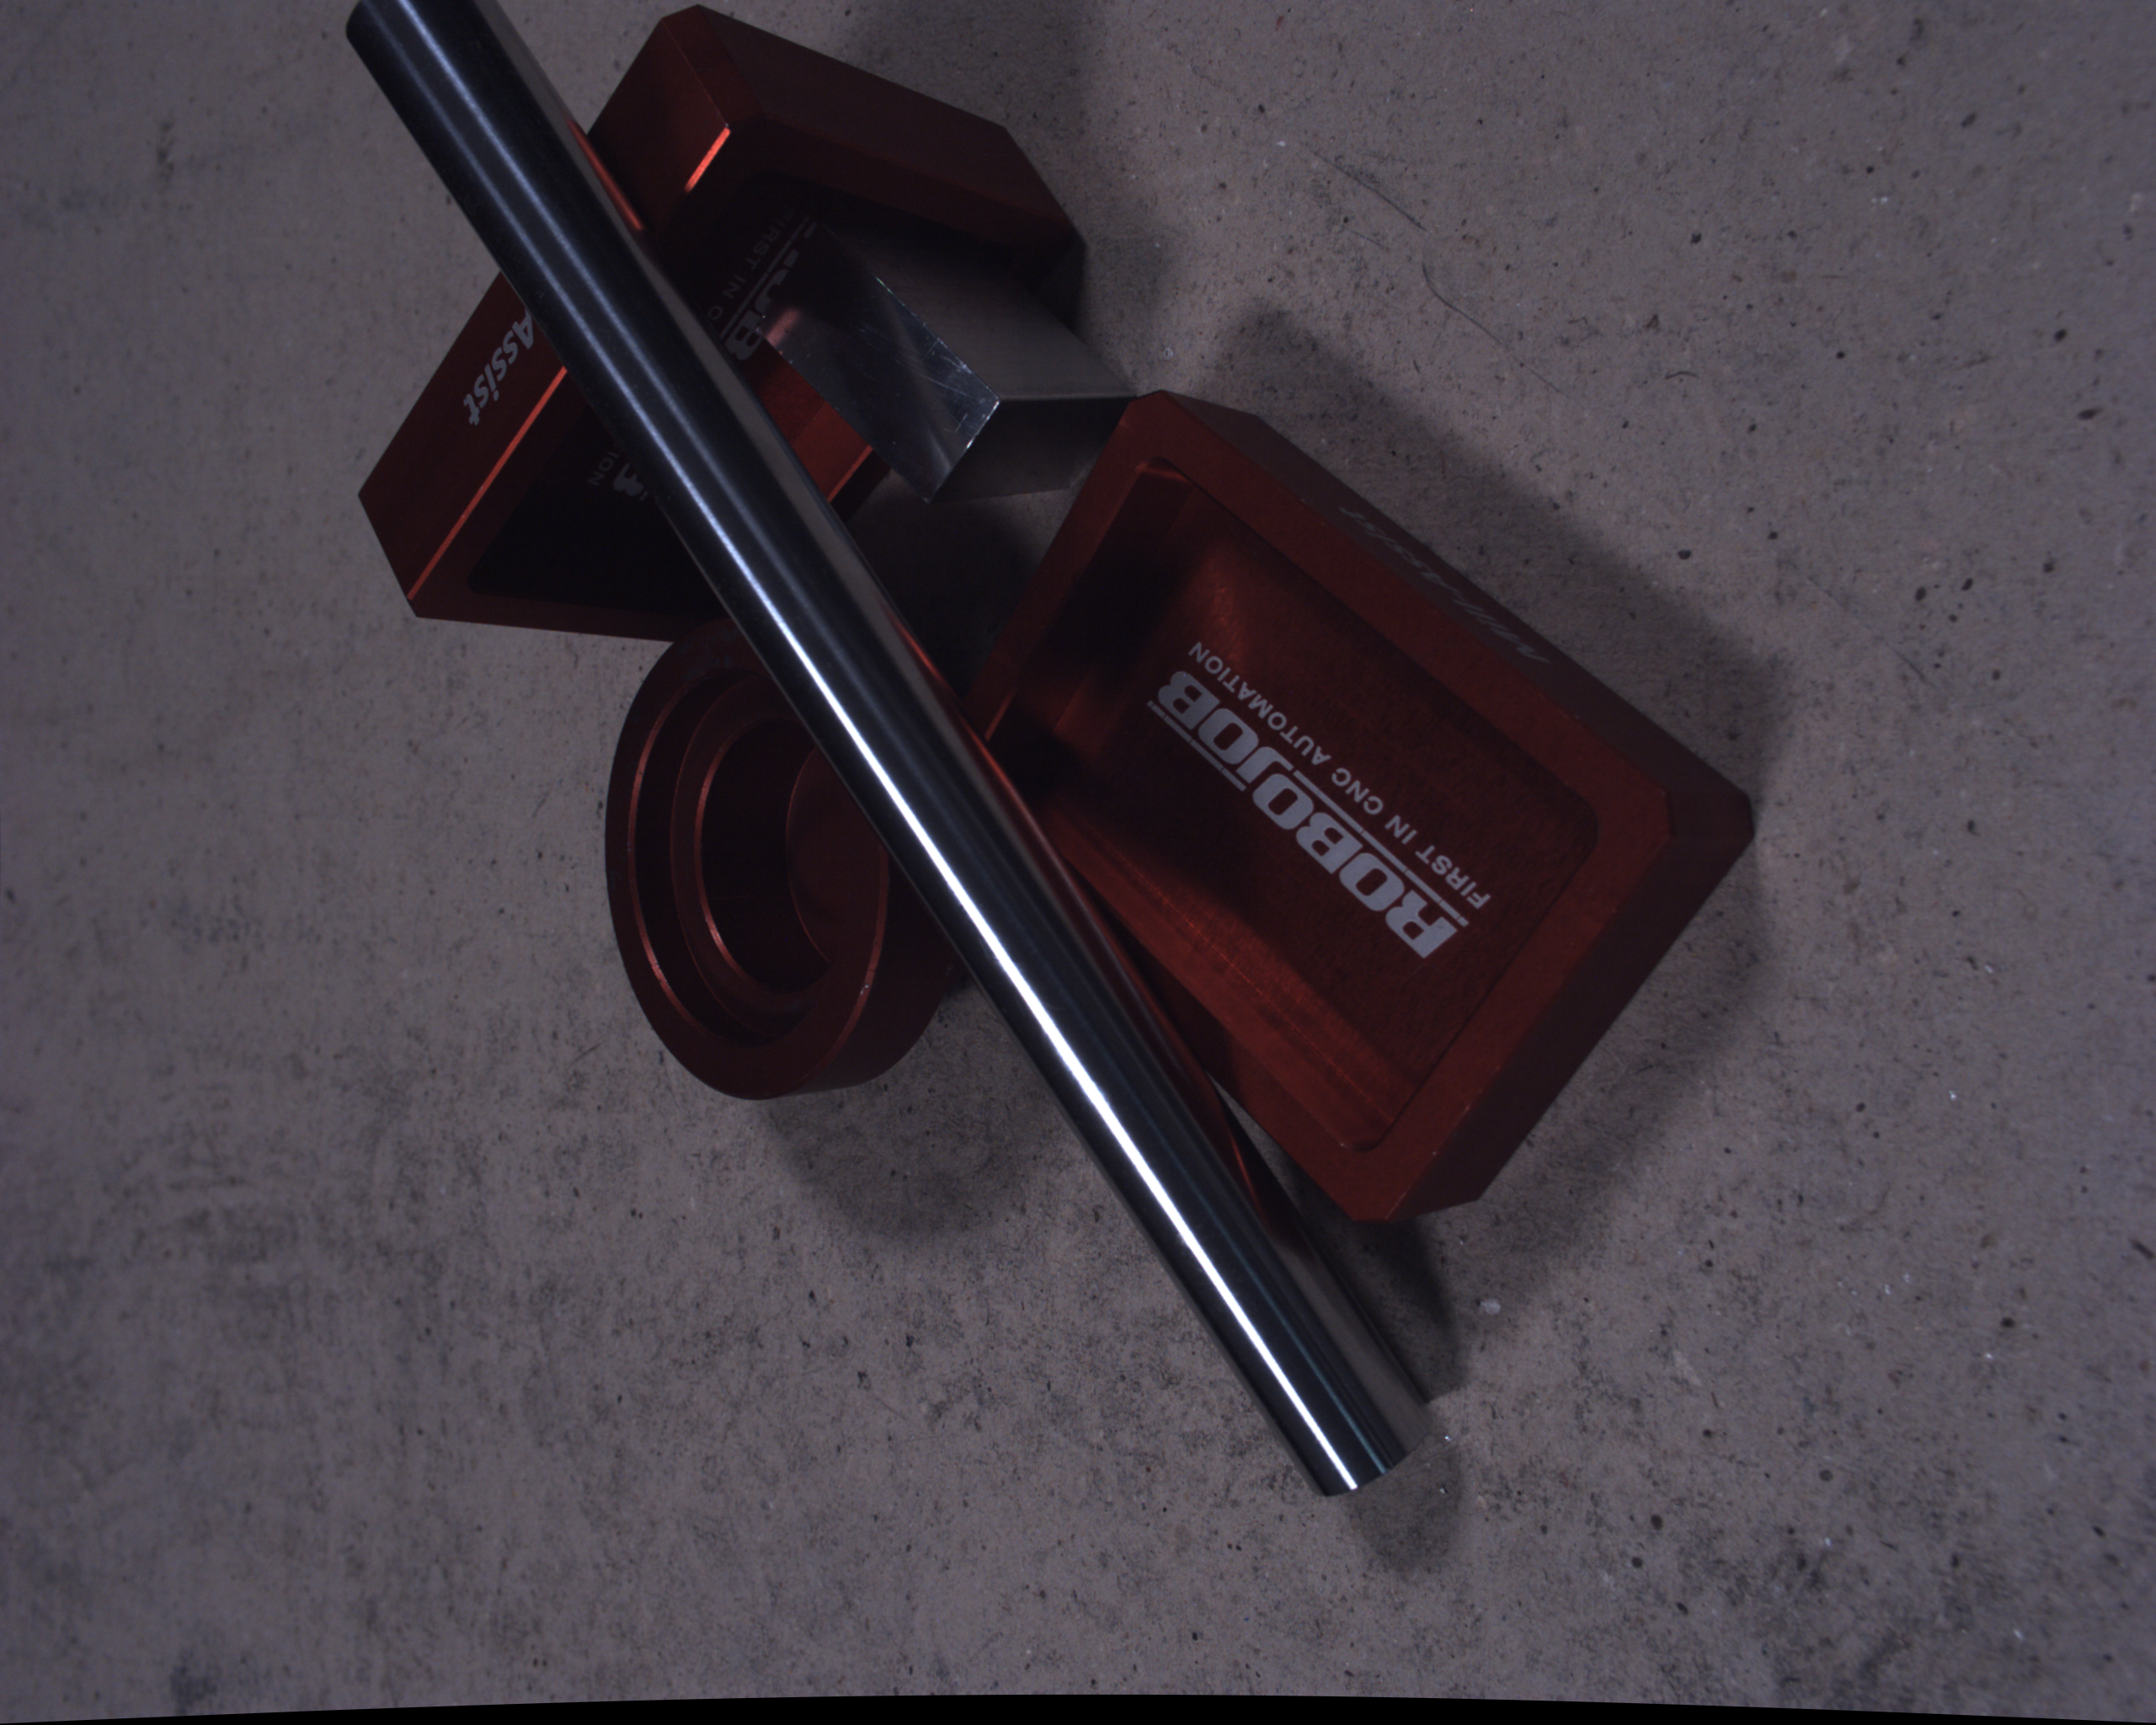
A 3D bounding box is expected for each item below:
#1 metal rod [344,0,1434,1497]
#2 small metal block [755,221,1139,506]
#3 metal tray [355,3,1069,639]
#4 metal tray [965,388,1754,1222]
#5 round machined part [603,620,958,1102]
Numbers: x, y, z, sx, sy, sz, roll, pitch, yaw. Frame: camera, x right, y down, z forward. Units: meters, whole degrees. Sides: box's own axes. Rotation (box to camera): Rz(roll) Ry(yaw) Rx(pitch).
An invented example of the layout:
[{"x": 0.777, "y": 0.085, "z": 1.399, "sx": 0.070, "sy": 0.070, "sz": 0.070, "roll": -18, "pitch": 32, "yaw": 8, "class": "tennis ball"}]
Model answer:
[{"x": -0.031, "y": -0.021, "z": 0.361, "sx": 0.025, "sy": 0.025, "sz": 0.299, "roll": -32, "pitch": 92, "yaw": 35, "class": "metal rod"}, {"x": -0.024, "y": -0.096, "z": 0.402, "sx": 0.050, "sy": 0.050, "sz": 0.025, "roll": 47, "pitch": 121, "yaw": 13, "class": "small metal block"}, {"x": -0.074, "y": -0.100, "z": 0.422, "sx": 0.129, "sy": 0.091, "sz": 0.030, "roll": -45, "pitch": 64, "yaw": 30, "class": "metal tray"}, {"x": 0.040, "y": -0.012, "z": 0.369, "sx": 0.130, "sy": 0.030, "sz": 0.089, "roll": 45, "pitch": 117, "yaw": 30, "class": "metal tray"}, {"x": -0.054, "y": -0.002, "z": 0.433, "sx": 0.098, "sy": 0.042, "sz": 0.097, "roll": 5, "pitch": 96, "yaw": 45, "class": "round machined part"}]
